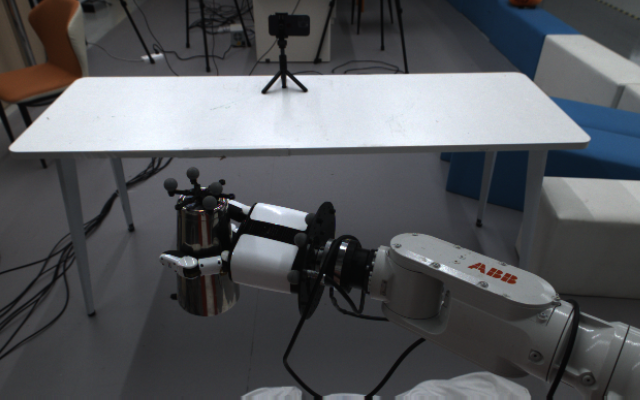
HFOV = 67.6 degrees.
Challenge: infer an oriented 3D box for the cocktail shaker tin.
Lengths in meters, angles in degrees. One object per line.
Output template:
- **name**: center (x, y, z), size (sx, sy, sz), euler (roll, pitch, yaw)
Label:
- **cocktail shaker tin**: center (-0.162, 0.071, 0.685), size (0.093, 0.170, 0.093), euler (3, 32, -2)
